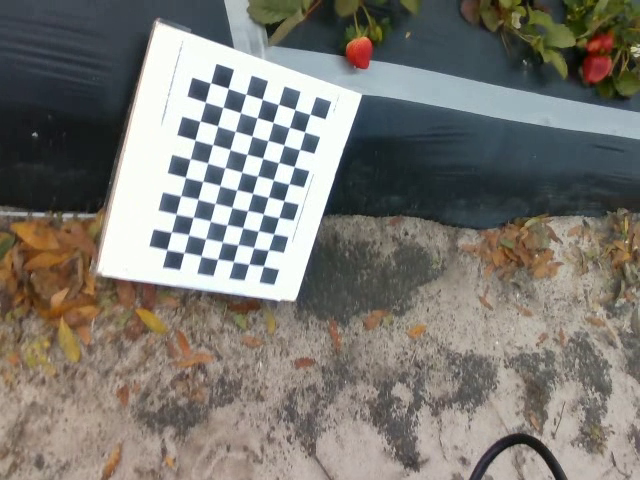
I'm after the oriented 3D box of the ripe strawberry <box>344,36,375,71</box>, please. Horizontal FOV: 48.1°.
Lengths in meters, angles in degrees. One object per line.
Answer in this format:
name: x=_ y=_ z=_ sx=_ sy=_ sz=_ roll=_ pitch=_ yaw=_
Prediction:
ripe strawberry: x=0.047 y=-0.224 z=0.838 sx=0.039 sy=0.047 sz=0.041 roll=-21 pitch=24 yaw=-9
